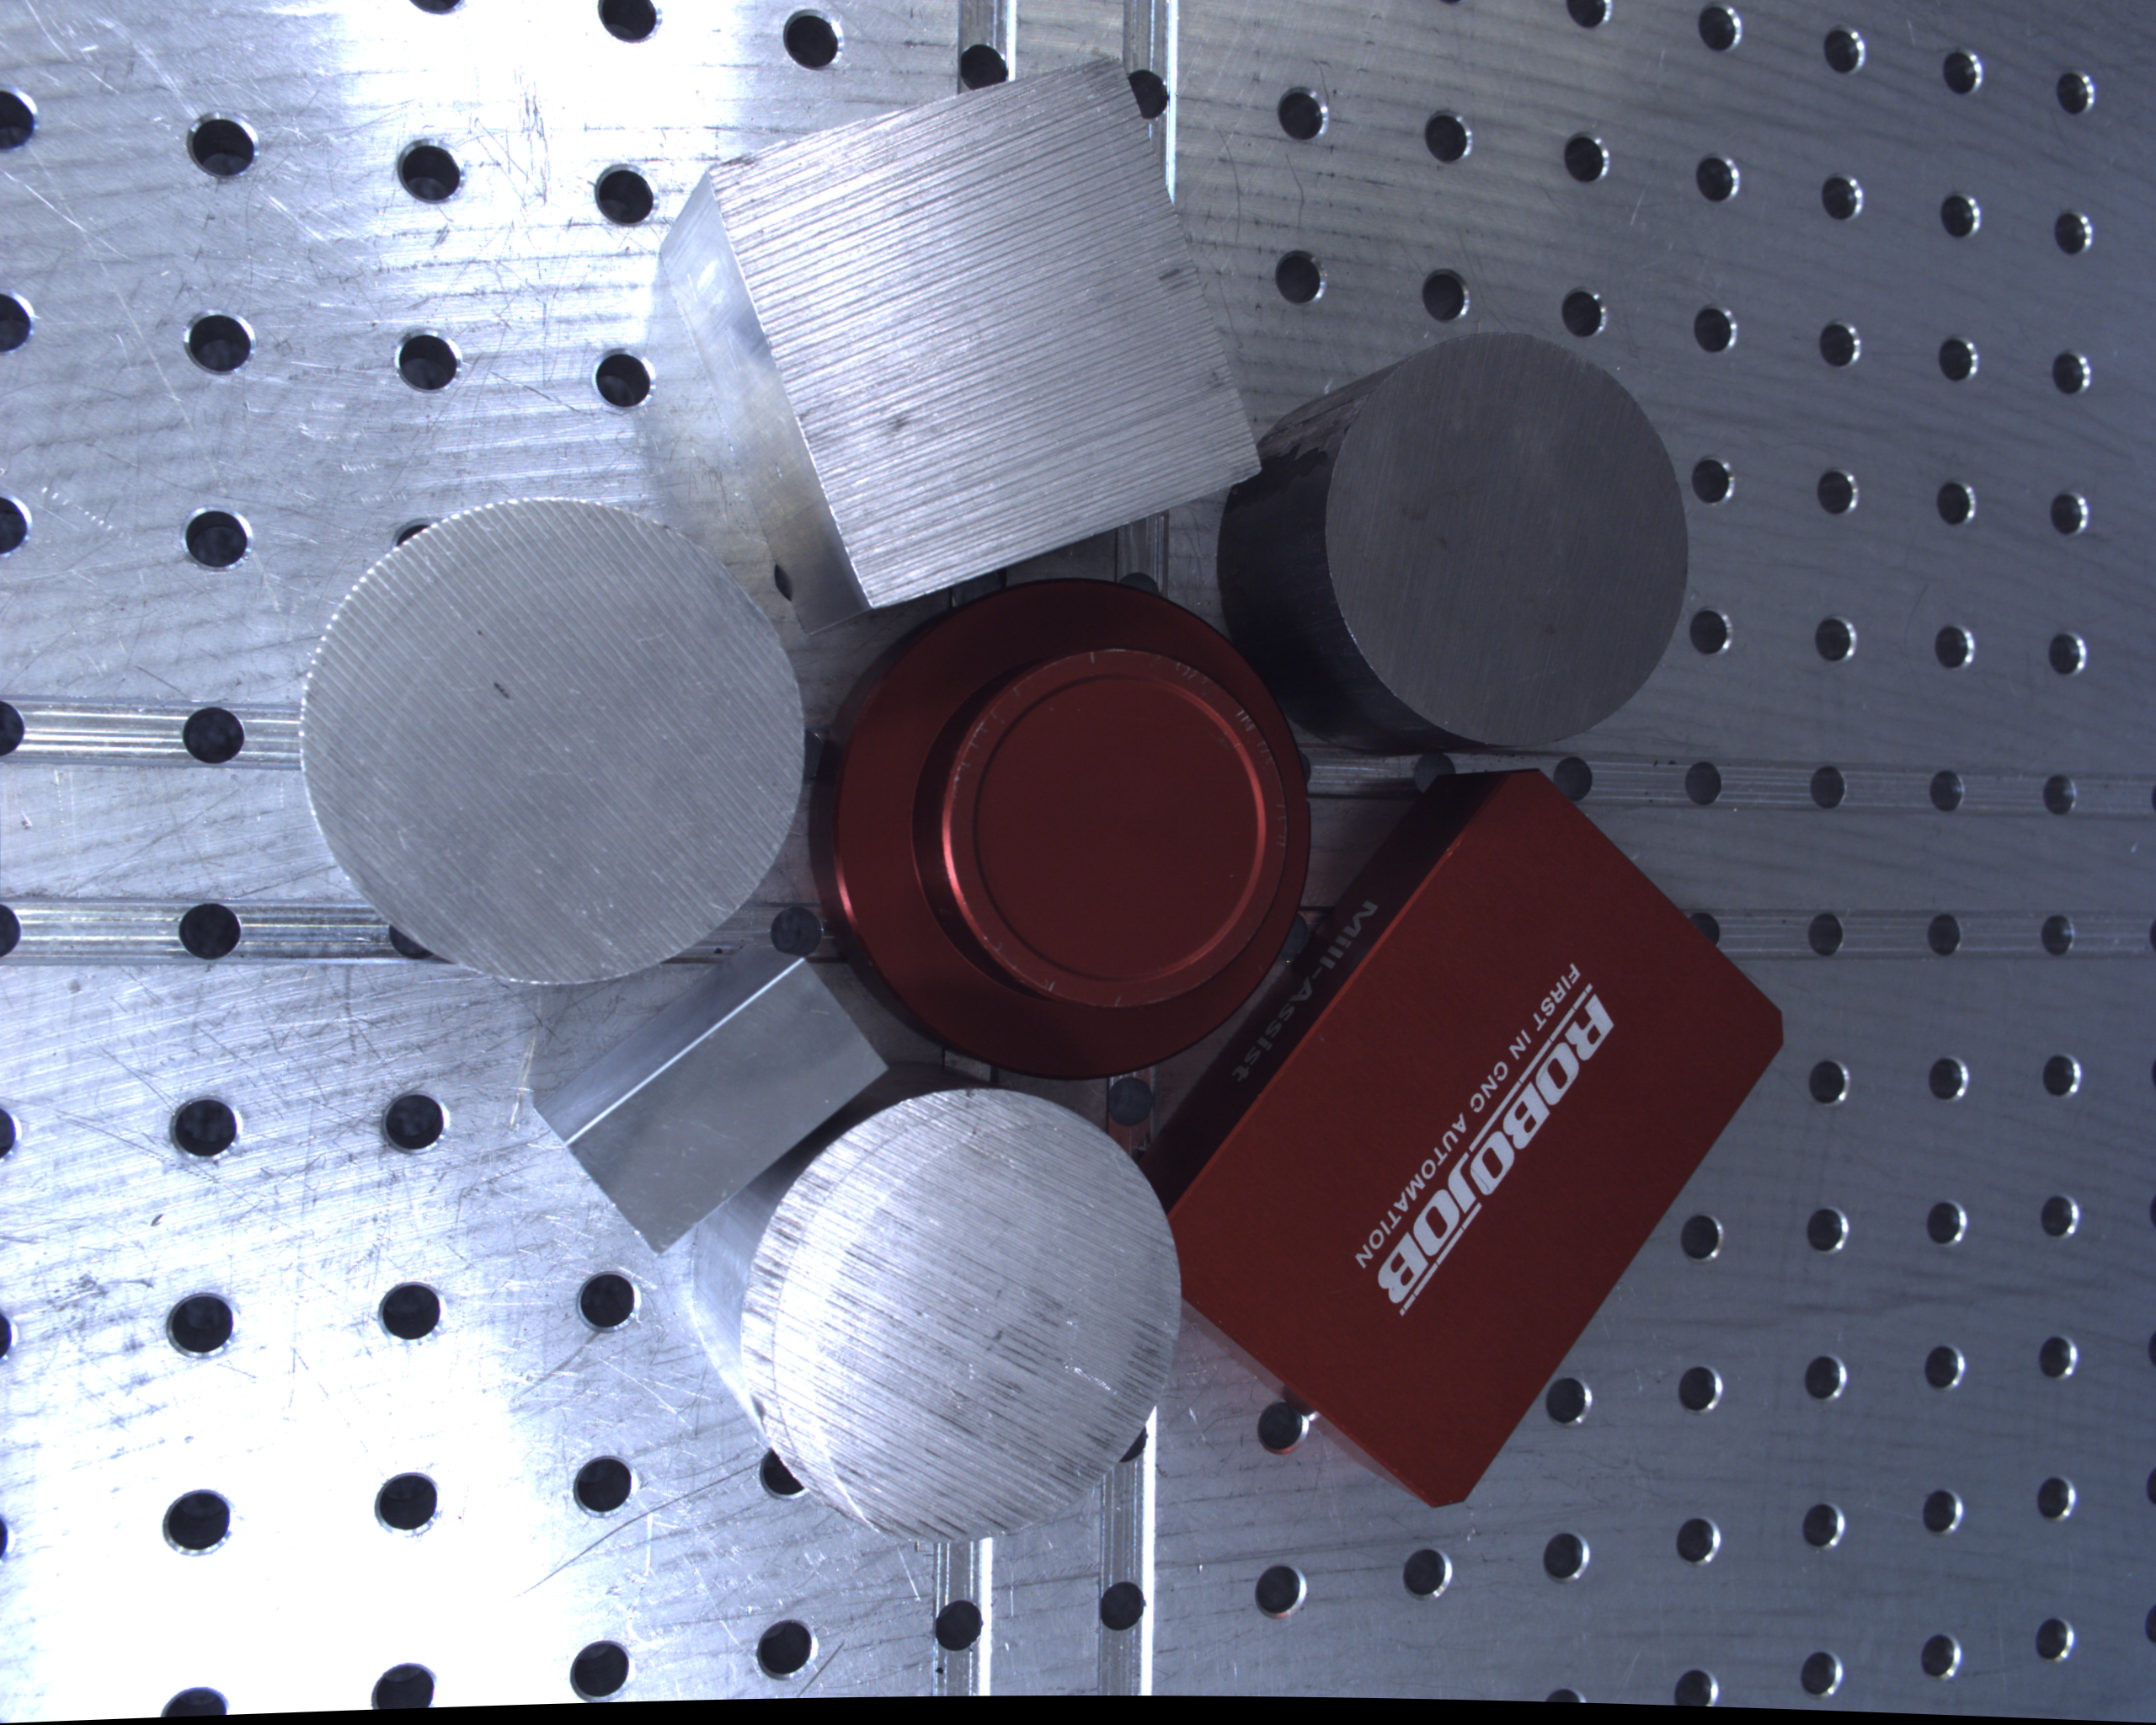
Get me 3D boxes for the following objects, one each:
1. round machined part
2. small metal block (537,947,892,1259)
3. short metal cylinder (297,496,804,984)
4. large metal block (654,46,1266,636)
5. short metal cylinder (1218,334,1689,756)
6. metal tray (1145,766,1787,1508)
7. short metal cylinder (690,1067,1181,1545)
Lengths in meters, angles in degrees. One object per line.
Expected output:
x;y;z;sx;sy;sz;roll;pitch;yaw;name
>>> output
0.001;-0.006;0.403;0.099;0.042;0.097;0;90;-20;round machined part
-0.067;0.041;0.374;0.050;0.050;0.025;-39;103;-16;small metal block
-0.093;-0.020;0.364;0.081;0.050;0.080;0;90;-20;short metal cylinder
-0.023;-0.096;0.391;0.081;0.050;0.080;-23;98;-19;large metal block
0.076;-0.062;0.426;0.081;0.050;0.080;0;90;-20;short metal cylinder
0.079;0.055;0.438;0.090;0.030;0.130;42;76;-15;metal tray
-0.028;0.079;0.389;0.081;0.050;0.080;0;90;-20;short metal cylinder
